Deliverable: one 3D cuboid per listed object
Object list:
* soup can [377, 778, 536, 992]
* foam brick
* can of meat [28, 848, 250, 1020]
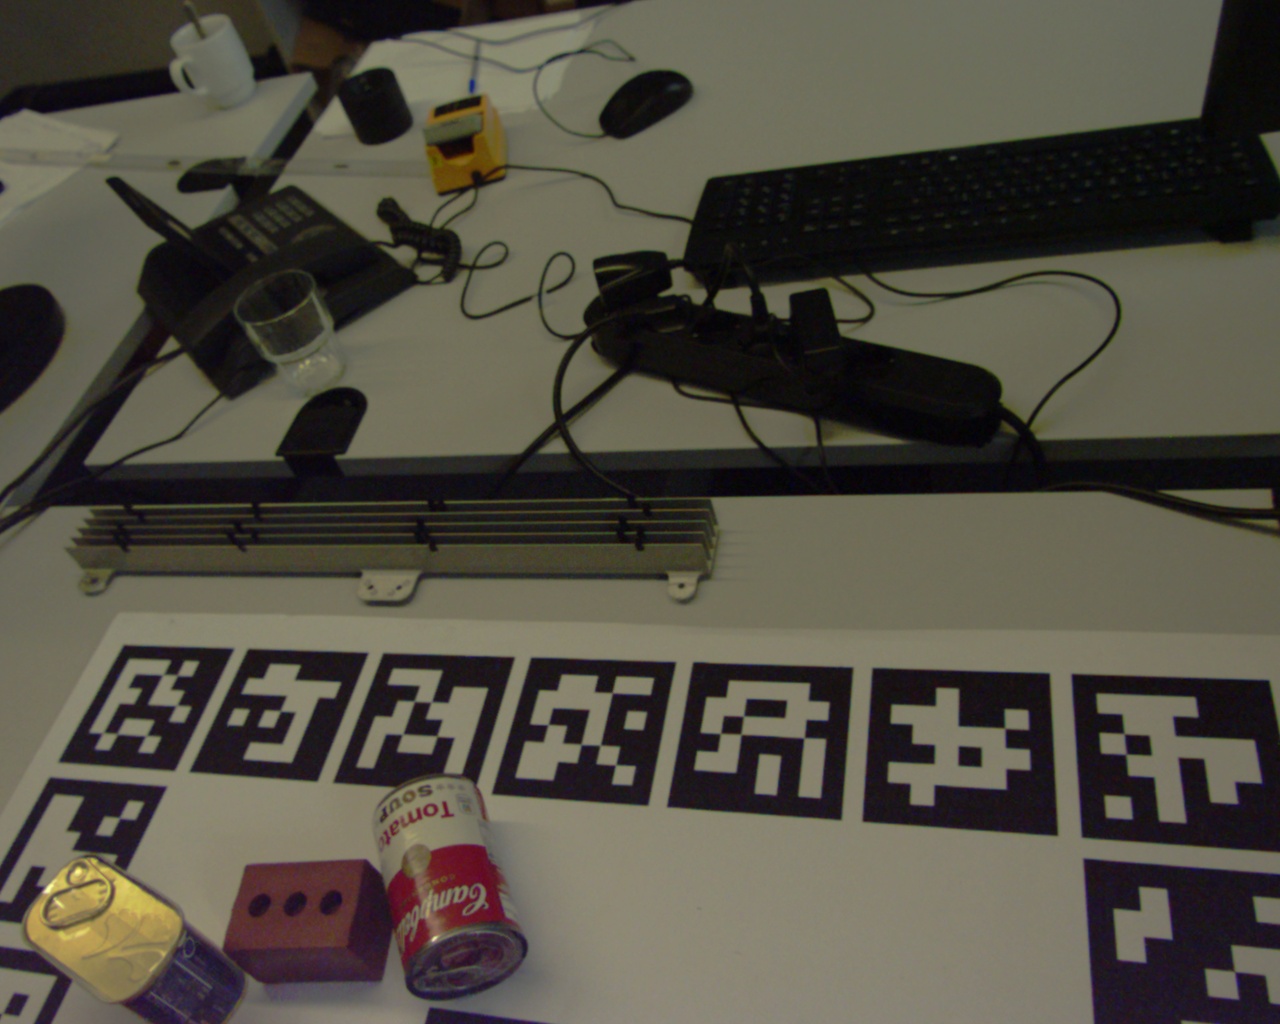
[{"bbox_3d":[-0.110,0.216,0.670,0.068,0.067,0.103,-29,43,-7],"label":"soup can"},{"bbox_3d":[-0.193,0.239,0.681,0.078,0.051,0.053,-9,49,11],"label":"foam brick"},{"bbox_3d":[-0.295,0.253,0.678,0.103,0.083,0.057,12,56,26],"label":"can of meat"}]
